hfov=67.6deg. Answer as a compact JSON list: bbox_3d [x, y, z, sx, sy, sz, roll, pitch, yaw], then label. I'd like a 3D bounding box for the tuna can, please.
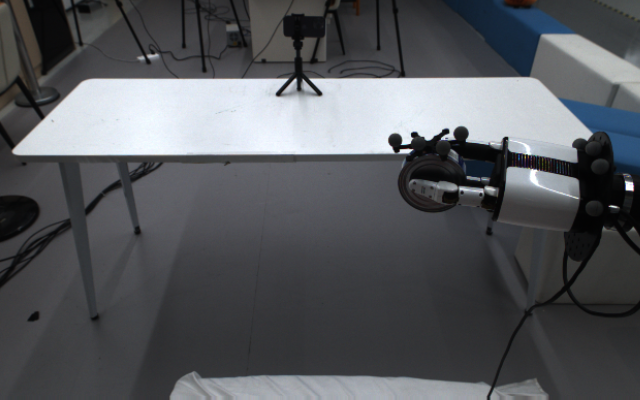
[{"bbox_3d":[0.146,-0.030,0.626,0.085,0.085,0.034,10,33,11],"label":"tuna can"}]
